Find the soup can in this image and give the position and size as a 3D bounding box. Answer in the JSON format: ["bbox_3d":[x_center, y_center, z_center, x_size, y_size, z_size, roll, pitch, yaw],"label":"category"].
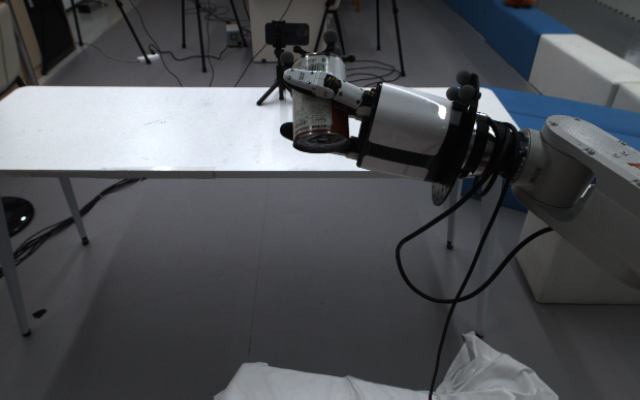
[{"bbox_3d":[0.000,-0.116,0.578,0.067,0.067,0.101,-1,76,-4],"label":"soup can"}]
